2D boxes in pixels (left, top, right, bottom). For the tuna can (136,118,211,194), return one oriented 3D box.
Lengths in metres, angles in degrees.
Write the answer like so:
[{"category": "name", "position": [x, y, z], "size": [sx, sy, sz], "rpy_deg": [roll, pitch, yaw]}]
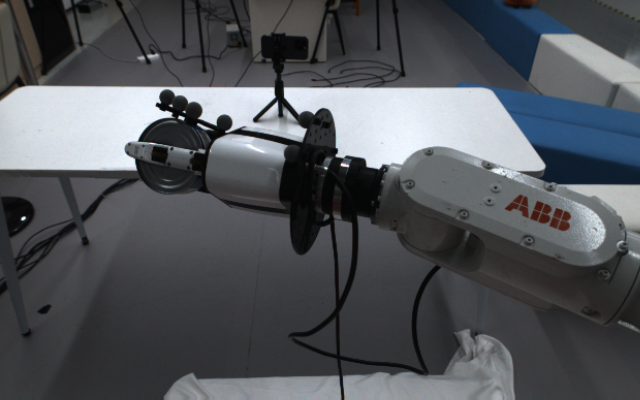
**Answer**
[{"category": "tuna can", "position": [-0.163, -0.048, 0.554], "size": [0.085, 0.085, 0.034], "rpy_deg": [13, 3, 16]}]
